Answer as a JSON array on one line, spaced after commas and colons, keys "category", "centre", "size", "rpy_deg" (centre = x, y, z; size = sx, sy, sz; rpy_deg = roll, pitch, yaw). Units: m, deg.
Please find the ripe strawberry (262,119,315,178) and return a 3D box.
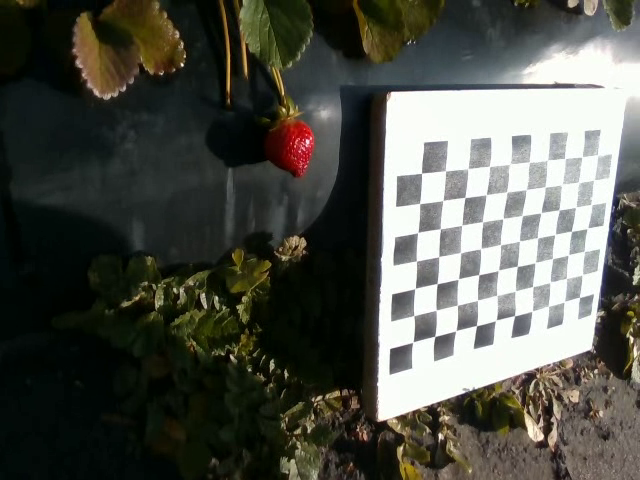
[{"category": "ripe strawberry", "centre": [-0.018, -0.058, 0.398], "size": [0.040, 0.044, 0.036], "rpy_deg": [-28, 13, -21]}]
